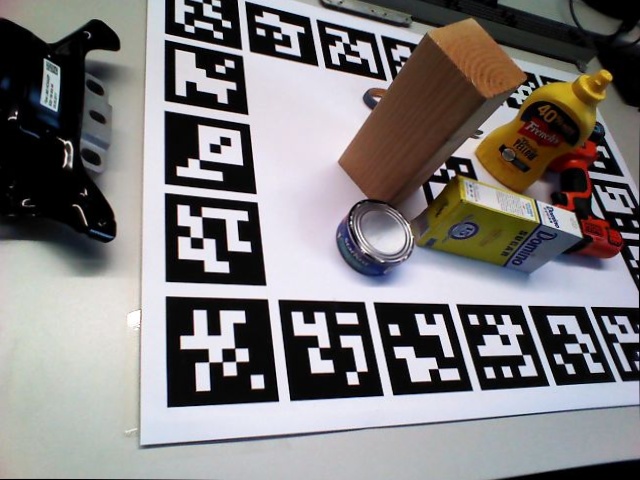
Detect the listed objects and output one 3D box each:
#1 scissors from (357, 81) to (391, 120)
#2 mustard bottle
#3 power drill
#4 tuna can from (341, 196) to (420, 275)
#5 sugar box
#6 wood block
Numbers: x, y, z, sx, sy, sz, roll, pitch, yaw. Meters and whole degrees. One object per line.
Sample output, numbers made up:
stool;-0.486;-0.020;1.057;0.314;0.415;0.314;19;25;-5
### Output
scissors;0.148;-0.176;0.729;0.202;0.016;0.087;6;57;-22
mustard bottle;0.313;-0.148;0.692;0.096;0.193;0.058;47;55;3
power drill;0.341;-0.073;0.736;0.184;0.058;0.186;16;65;-16
tuna can;0.067;-0.004;0.583;0.085;0.034;0.085;11;60;-20
sugar box;0.227;-0.012;0.631;0.176;0.093;0.045;16;55;-19
wood block;0.119;-0.130;0.586;0.090;0.208;0.090;-27;78;-33
